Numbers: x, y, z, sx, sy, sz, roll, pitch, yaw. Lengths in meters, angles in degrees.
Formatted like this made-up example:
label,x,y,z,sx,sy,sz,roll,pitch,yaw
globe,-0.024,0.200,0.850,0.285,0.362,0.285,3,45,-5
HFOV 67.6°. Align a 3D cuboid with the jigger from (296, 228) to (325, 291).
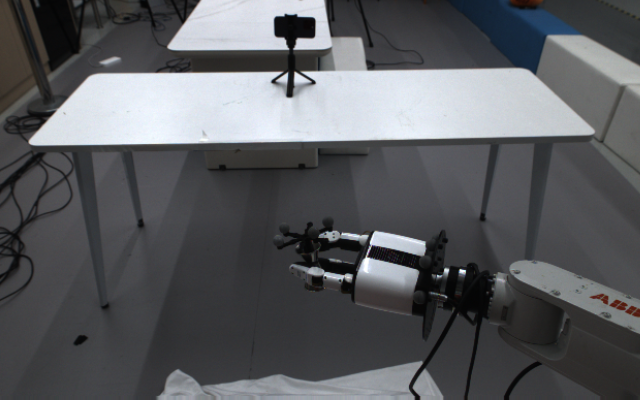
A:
label,x,y,z,sx,sy,sz,roll,pitch,yaw
jigger,-0.010,0.100,0.745,0.043,0.071,0.043,-11,24,5
